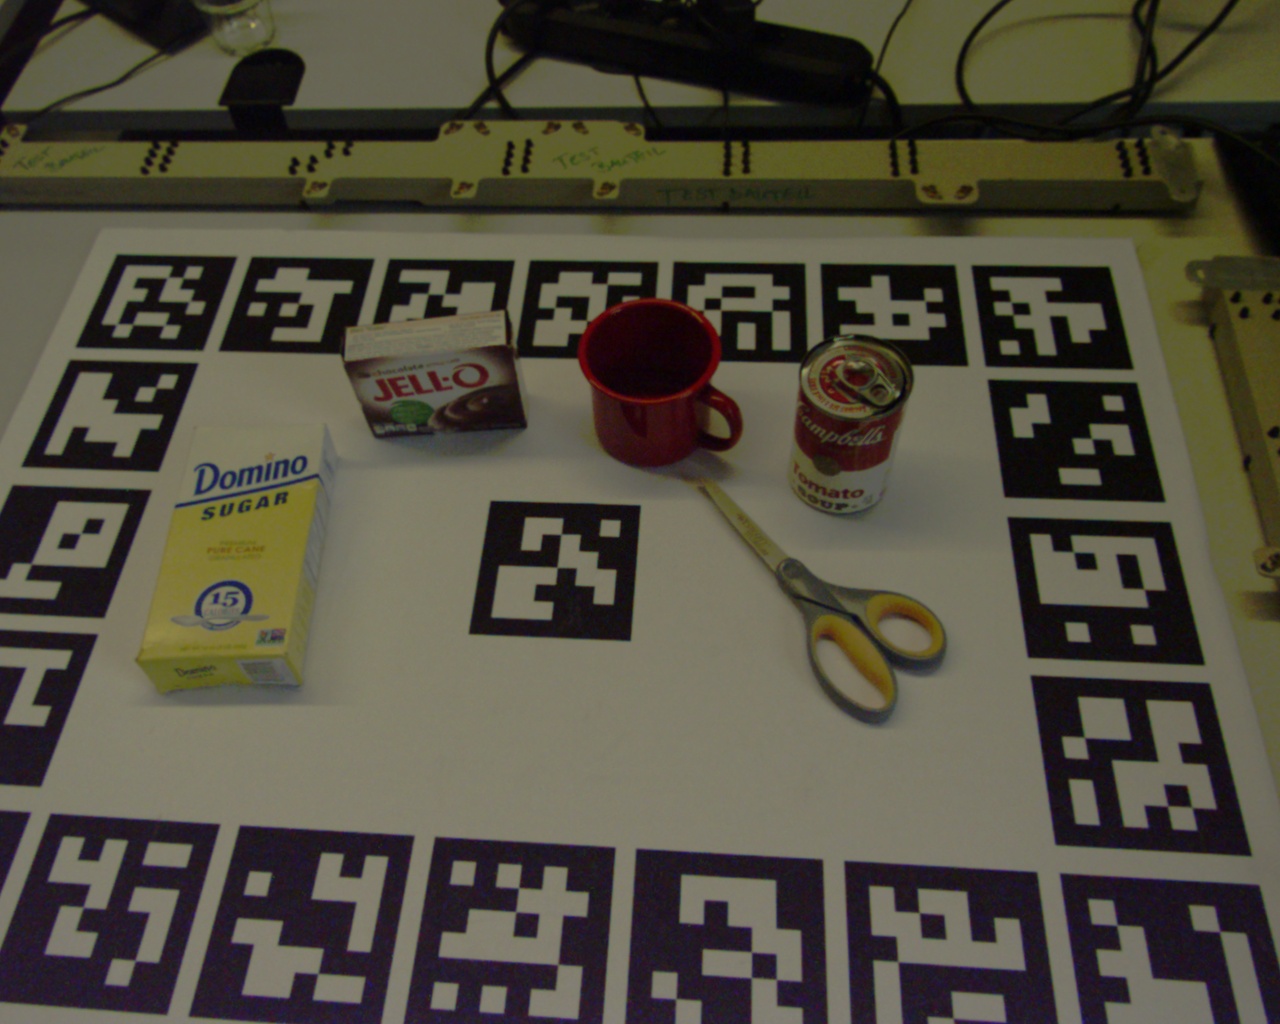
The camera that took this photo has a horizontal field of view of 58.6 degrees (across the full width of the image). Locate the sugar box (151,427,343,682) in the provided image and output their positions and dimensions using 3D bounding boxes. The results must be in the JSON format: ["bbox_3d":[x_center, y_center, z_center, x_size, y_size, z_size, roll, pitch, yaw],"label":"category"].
[{"bbox_3d":[-0.262,0.026,0.773,0.093,0.045,0.177,-2,60,5],"label":"sugar box"}]

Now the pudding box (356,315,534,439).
[{"bbox_3d":[-0.136,-0.095,0.804,0.114,0.089,0.039,-6,65,-1],"label":"pudding box"}]

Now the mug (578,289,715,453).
[{"bbox_3d":[0.014,-0.087,0.798,0.093,0.081,0.118,-31,60,-12],"label":"mug"}]

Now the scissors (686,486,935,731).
[{"bbox_3d":[0.100,0.047,0.744,0.087,0.016,0.205,-40,64,-8],"label":"scissors"}]

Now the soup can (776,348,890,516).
[{"bbox_3d":[0.127,-0.052,0.764,0.068,0.101,0.068,-2,57,3],"label":"soup can"}]
